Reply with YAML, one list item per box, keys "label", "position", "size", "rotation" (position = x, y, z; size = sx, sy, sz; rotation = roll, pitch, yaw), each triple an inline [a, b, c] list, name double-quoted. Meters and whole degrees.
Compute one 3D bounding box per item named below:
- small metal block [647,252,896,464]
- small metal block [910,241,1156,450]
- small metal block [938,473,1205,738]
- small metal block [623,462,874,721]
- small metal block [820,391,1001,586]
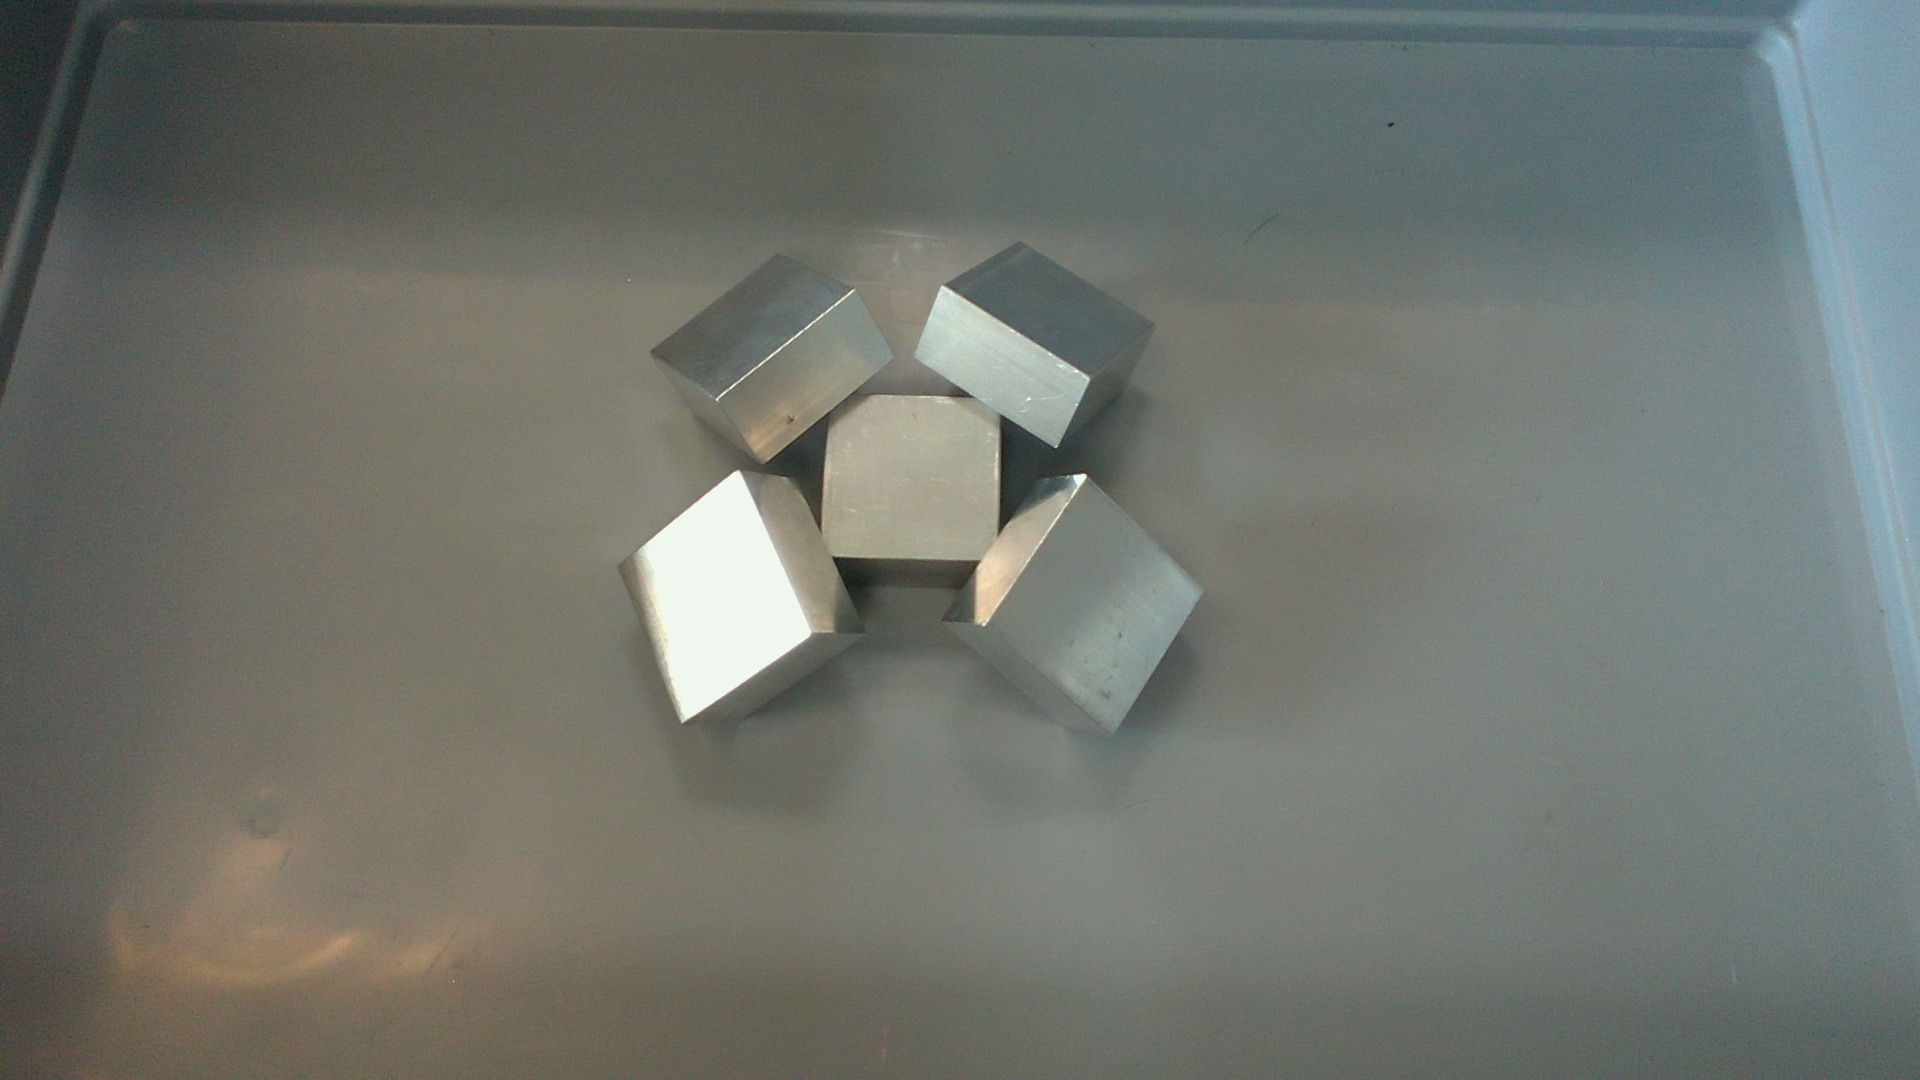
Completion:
- label: "small metal block"
  position: [-0.055, -0.054, 0.399]
  size: [0.050, 0.025, 0.050]
  rotation: [-41, 38, -13]
- label: "small metal block"
  position: [0.022, -0.058, 0.401]
  size: [0.050, 0.025, 0.050]
  rotation: [34, 36, 11]
- label: "small metal block"
  position: [0.031, 0.017, 0.375]
  size: [0.050, 0.025, 0.050]
  rotation: [42, 72, -22]
- label: "small metal block"
  position: [-0.058, 0.014, 0.375]
  size: [0.050, 0.025, 0.050]
  rotation: [-37, 70, 27]
- label: "small metal block"
  position: [-0.014, -0.015, 0.398]
  size: [0.050, 0.025, 0.050]
  rotation: [2, 70, 0]
